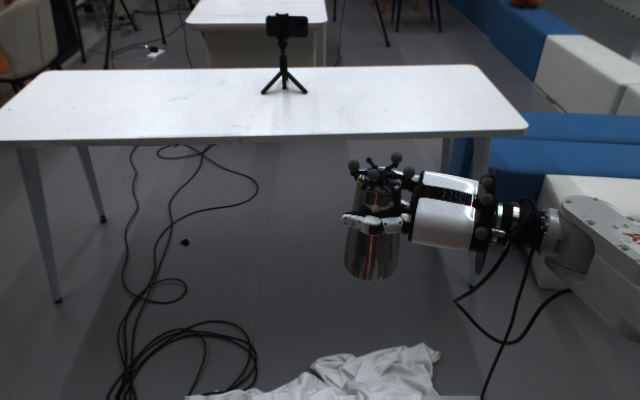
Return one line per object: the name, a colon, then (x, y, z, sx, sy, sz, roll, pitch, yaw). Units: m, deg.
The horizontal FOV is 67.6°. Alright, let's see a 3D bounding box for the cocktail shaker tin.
cocktail shaker tin: (0.090, 0.032, 0.767, 0.093, 0.170, 0.093, 1, 39, -1)
